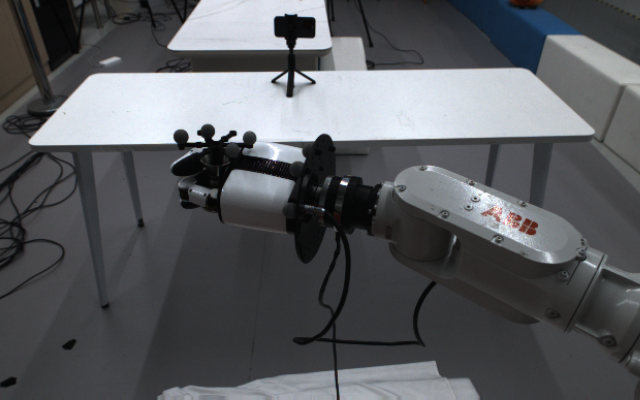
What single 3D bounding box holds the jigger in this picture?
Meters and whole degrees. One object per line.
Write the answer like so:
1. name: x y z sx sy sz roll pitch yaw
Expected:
1. jigger: -0.126 -0.024 0.620 0.043 0.071 0.043 4 31 -2
